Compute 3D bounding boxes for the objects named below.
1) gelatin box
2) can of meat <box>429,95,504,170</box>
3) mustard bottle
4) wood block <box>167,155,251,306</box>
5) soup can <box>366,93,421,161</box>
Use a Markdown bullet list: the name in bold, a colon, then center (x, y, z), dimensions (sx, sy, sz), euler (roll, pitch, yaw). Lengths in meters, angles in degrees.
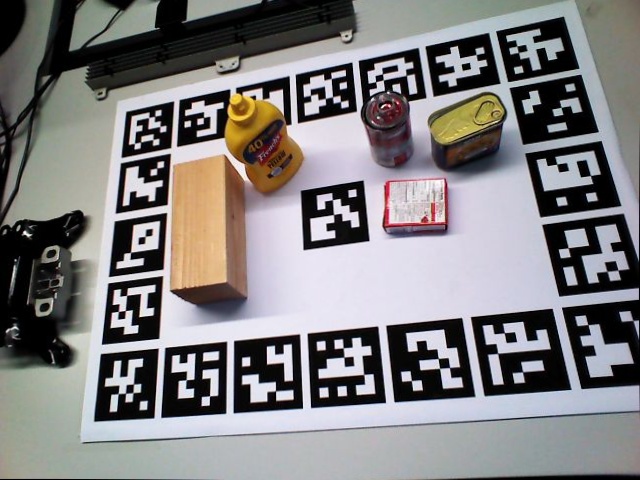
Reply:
- **gelatin box**: center (0.144, -0.046, 0.733), dimensions (0.090, 0.030, 0.073), euler (1, 72, 19)
- **can of meat**: center (0.208, -0.152, 0.730), dimensions (0.102, 0.084, 0.057), euler (-21, 66, 5)
- **mustard bottle**: center (-0.088, -0.142, 0.758), dimensions (0.096, 0.191, 0.058), euler (-31, 64, 1)
- **wood block**: center (-0.166, -0.015, 0.784), dimensions (0.091, 0.090, 0.205), euler (-7, 64, 12)
- **soup can**: center (0.108, -0.165, 0.744), dimensions (0.068, 0.102, 0.067), euler (-5, 70, 15)
